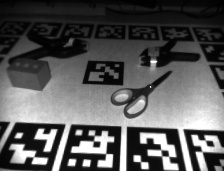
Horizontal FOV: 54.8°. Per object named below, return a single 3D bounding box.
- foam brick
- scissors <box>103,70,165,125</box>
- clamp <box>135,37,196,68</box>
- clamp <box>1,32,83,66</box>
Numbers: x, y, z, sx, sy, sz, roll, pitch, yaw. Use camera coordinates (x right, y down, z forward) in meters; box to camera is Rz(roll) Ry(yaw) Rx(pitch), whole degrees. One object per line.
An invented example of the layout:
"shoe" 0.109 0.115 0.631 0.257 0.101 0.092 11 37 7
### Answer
"foam brick" -0.212 -0.020 0.519 0.077 0.052 0.052 4 45 11
"scissors" 0.067 0.011 0.509 0.087 0.016 0.204 38 53 22
"clamp" 0.138 -0.090 0.610 0.166 0.037 0.120 -18 54 -18
"clamp" -0.187 -0.110 0.620 0.203 0.037 0.164 0 41 -2
